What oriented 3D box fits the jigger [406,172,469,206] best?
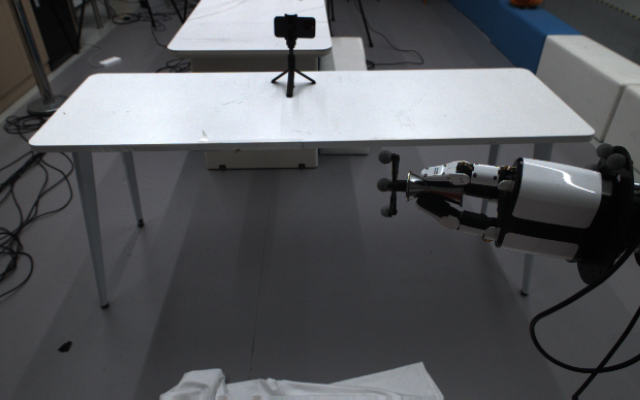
[{"bbox_3d":[0.151,-0.020,0.608,0.071,0.043,0.043,3,34,15],"label":"jigger"}]
